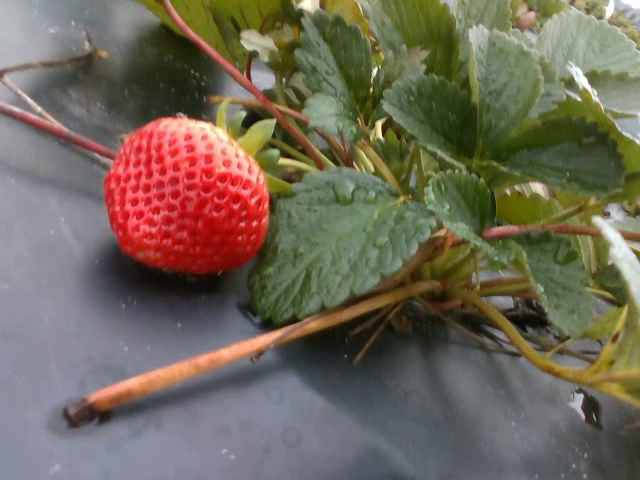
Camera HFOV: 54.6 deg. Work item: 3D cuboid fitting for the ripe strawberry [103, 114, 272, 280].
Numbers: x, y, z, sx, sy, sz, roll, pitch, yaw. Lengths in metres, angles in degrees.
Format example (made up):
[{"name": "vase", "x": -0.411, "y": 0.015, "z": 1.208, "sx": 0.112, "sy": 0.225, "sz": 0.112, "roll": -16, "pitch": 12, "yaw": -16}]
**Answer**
[{"name": "ripe strawberry", "x": -0.046, "y": -0.017, "z": 0.202, "sx": 0.061, "sy": 0.065, "sz": 0.049, "roll": 39, "pitch": -30, "yaw": -11}]
